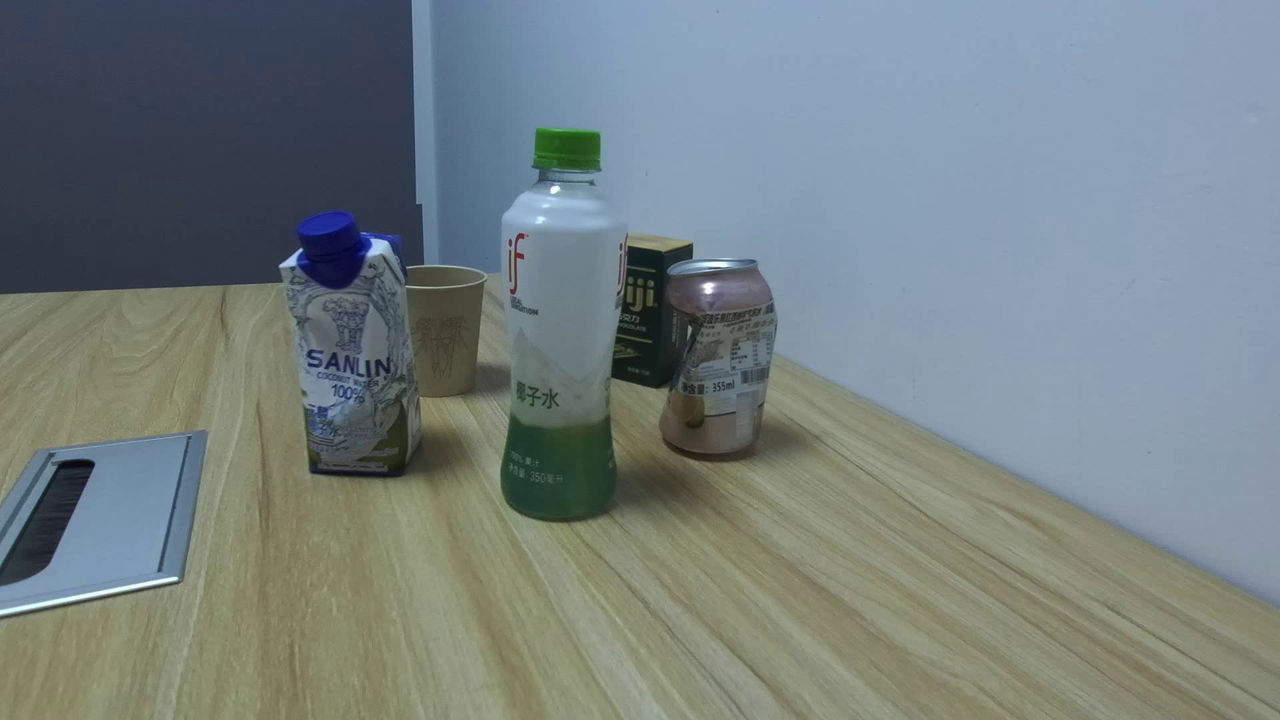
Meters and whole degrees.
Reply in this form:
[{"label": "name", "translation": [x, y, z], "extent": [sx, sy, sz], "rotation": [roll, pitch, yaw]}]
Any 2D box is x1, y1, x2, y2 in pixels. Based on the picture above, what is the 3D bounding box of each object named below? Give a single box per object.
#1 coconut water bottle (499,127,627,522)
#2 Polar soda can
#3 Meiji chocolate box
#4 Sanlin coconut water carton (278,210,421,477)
[{"label": "coconut water bottle", "translation": [-0.038, -0.016, 0.357], "extent": [0.063, 0.188, 0.063], "rotation": [3, 18, -1]}, {"label": "Polar soda can", "translation": [0.041, -0.002, 0.441], "extent": [0.067, 0.122, 0.070], "rotation": [-17, 25, -37]}, {"label": "Meiji chocolate box", "translation": [-0.018, -0.044, 0.564], "extent": [0.109, 0.109, 0.056], "rotation": [13, 23, 27]}, {"label": "Sanlin coconut water carton", "translation": [-0.158, -0.011, 0.390], "extent": [0.061, 0.143, 0.070], "rotation": [2, 20, -1]}]
